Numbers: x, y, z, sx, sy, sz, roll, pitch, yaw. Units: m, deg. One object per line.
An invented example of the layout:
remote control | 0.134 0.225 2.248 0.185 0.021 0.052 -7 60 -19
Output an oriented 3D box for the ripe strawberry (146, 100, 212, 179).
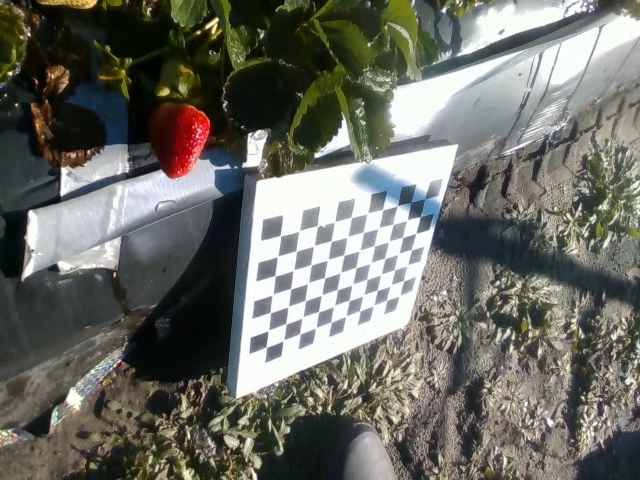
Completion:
ripe strawberry | -0.117 -0.079 0.503 0.057 0.065 0.061 -16 -24 30
